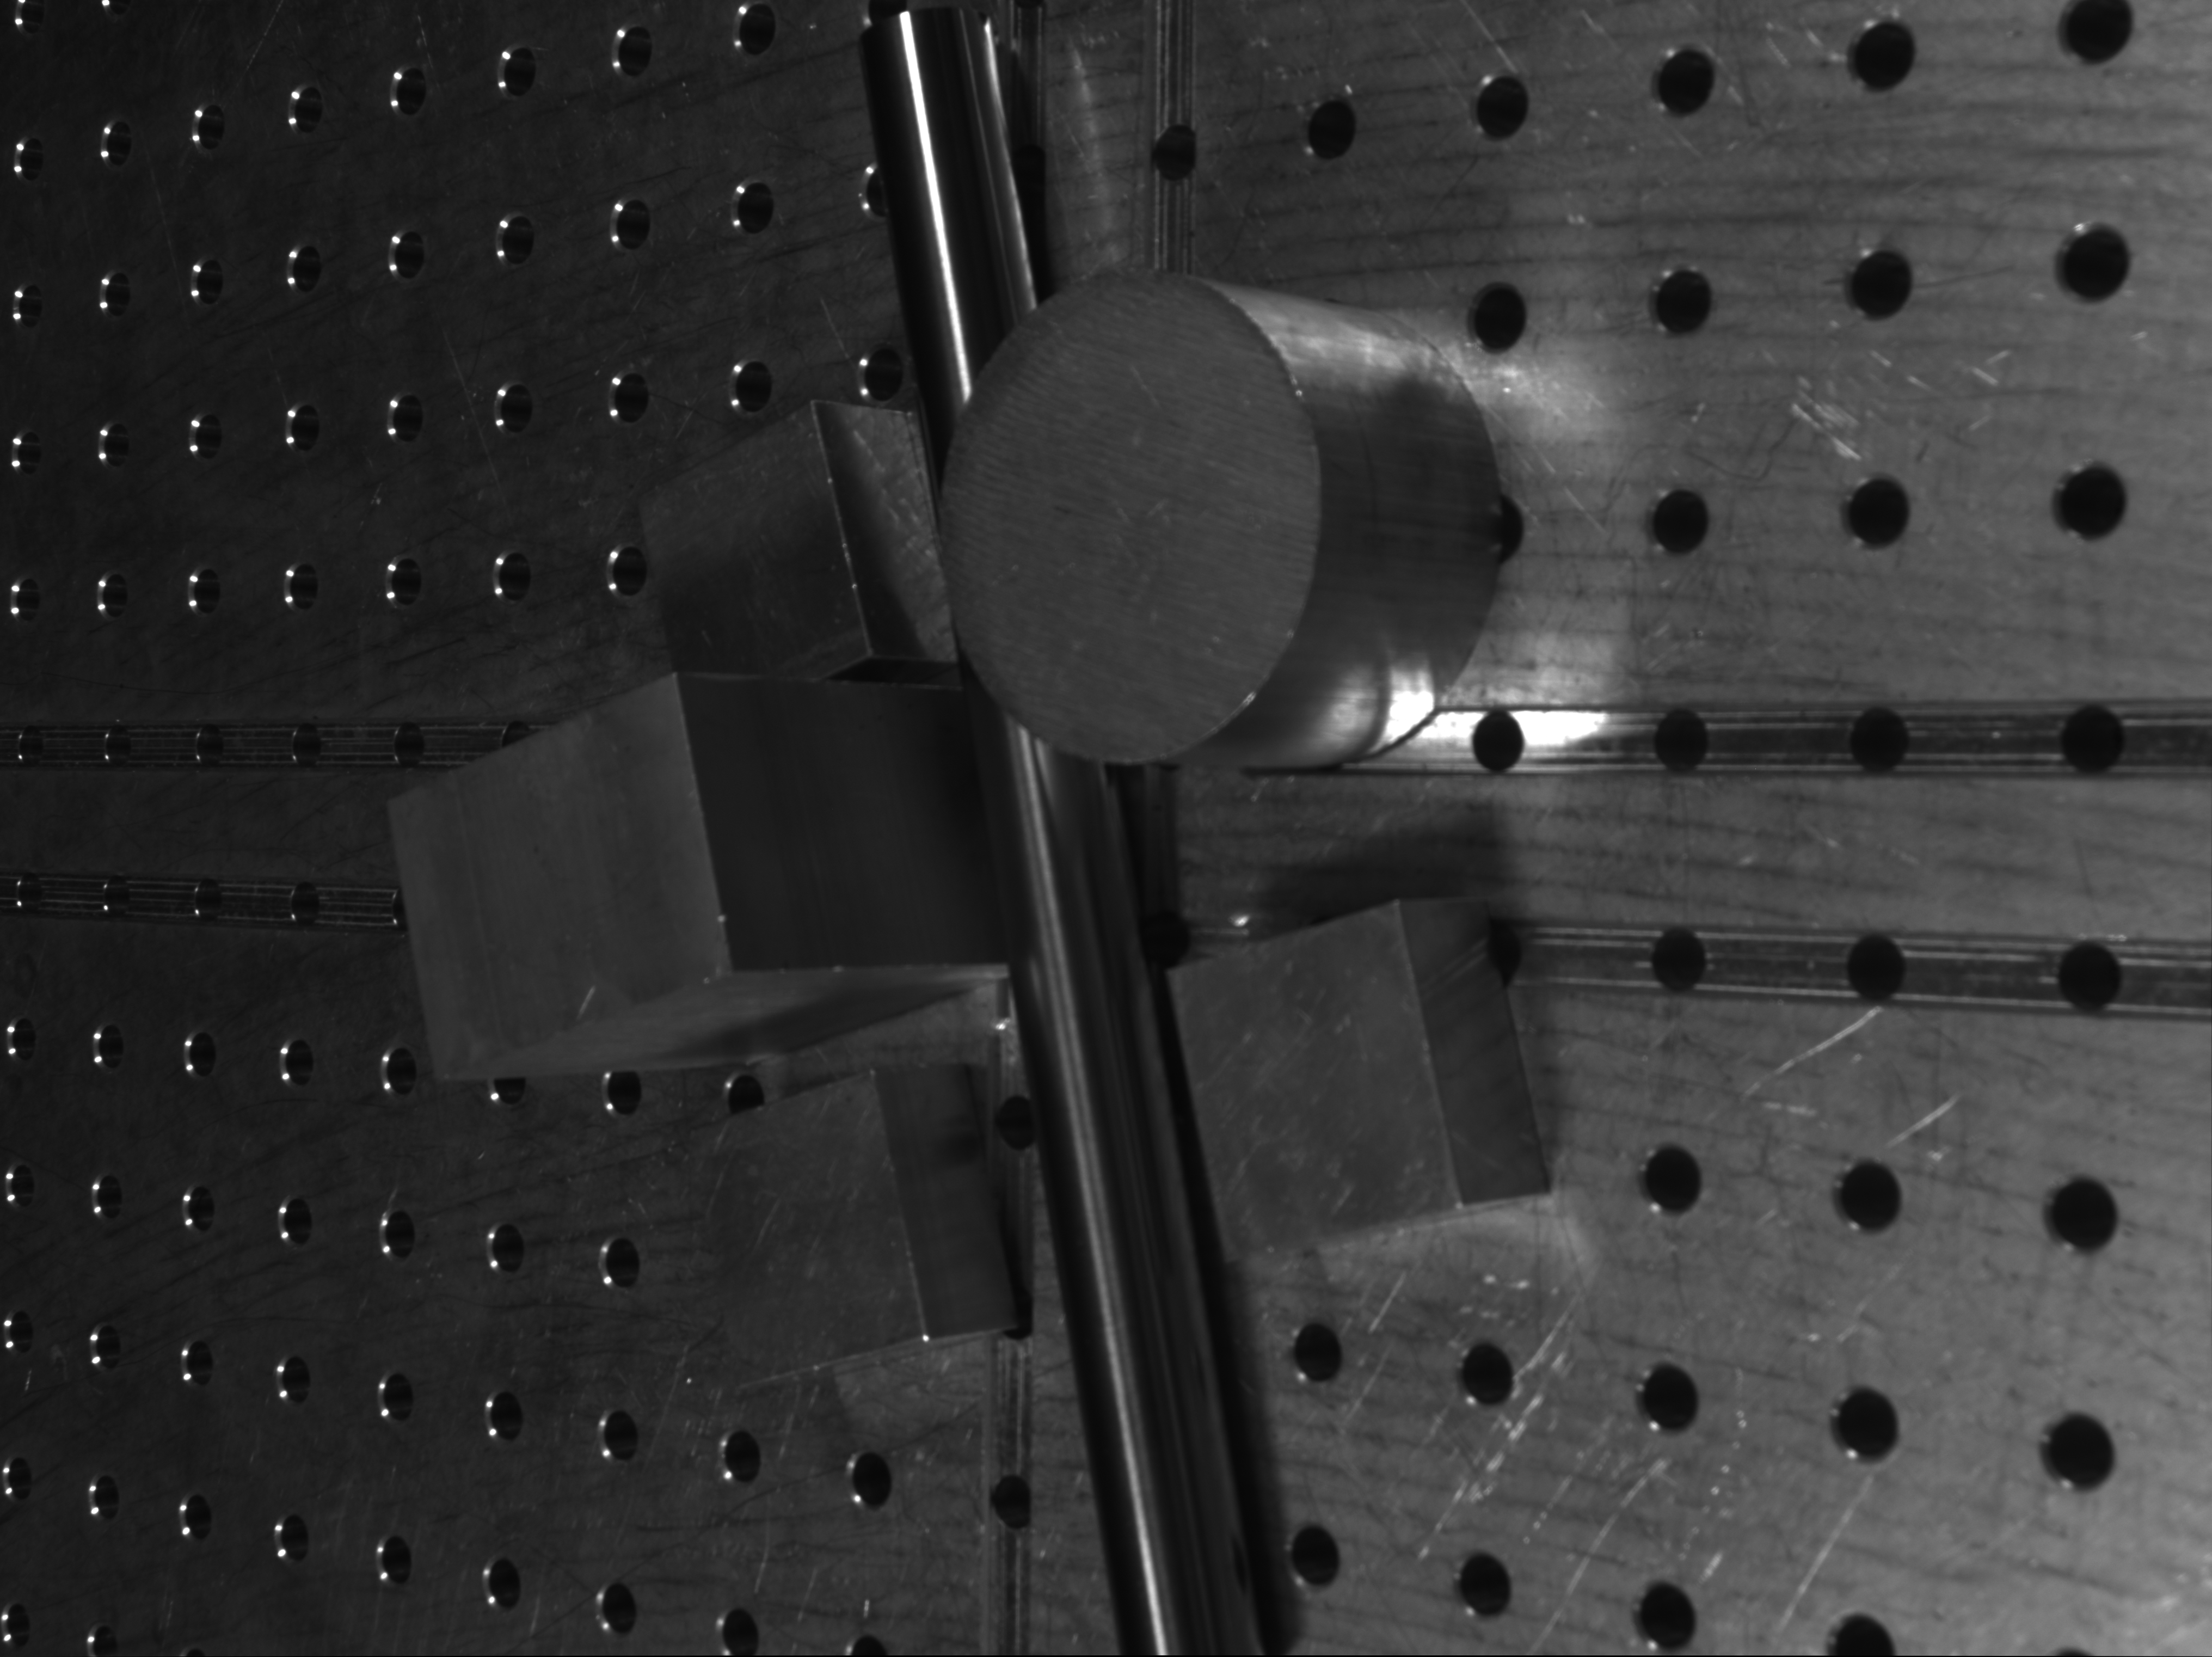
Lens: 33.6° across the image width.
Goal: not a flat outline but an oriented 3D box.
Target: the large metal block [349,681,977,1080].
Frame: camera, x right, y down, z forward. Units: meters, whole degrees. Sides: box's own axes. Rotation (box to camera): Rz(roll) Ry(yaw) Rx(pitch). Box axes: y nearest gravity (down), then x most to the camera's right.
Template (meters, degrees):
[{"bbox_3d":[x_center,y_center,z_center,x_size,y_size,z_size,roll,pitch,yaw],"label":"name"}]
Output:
[{"bbox_3d":[-0.077,0.010,0.665,0.080,0.080,0.050,-20,77,38],"label":"large metal block"}]

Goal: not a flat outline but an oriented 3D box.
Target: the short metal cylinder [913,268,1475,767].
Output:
[{"bbox_3d":[0.014,-0.050,0.611,0.080,0.050,0.080,0,90,39],"label":"short metal cylinder"}]

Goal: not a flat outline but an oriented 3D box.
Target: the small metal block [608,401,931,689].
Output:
[{"bbox_3d":[-0.063,-0.047,0.691,0.050,0.025,0.050,-22,76,37],"label":"small metal block"}]

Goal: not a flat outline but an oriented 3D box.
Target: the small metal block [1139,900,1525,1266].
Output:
[{"bbox_3d":[0.037,0.042,0.609,0.050,0.025,0.050,-19,78,38],"label":"small metal block"}]

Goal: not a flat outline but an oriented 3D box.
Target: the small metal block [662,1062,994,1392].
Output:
[{"bbox_3d":[-0.052,0.074,0.682,0.050,0.025,0.050,-20,77,38],"label":"small metal block"}]

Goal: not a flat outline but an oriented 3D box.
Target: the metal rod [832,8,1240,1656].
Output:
[{"bbox_3d":[-0.013,0.001,0.650,0.025,0.025,0.300,-16,80,38],"label":"metal rod"}]
